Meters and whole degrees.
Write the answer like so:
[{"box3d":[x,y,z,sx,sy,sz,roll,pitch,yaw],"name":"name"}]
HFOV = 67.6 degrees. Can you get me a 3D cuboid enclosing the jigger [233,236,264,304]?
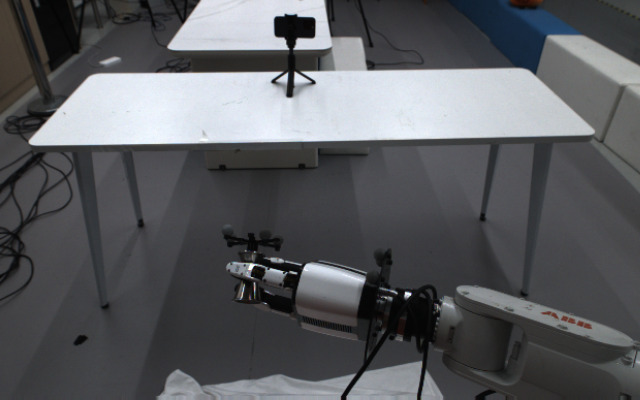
[{"box3d":[-0.100,0.108,0.677,0.043,0.043,0.071,3,72,1],"name":"jigger"}]
